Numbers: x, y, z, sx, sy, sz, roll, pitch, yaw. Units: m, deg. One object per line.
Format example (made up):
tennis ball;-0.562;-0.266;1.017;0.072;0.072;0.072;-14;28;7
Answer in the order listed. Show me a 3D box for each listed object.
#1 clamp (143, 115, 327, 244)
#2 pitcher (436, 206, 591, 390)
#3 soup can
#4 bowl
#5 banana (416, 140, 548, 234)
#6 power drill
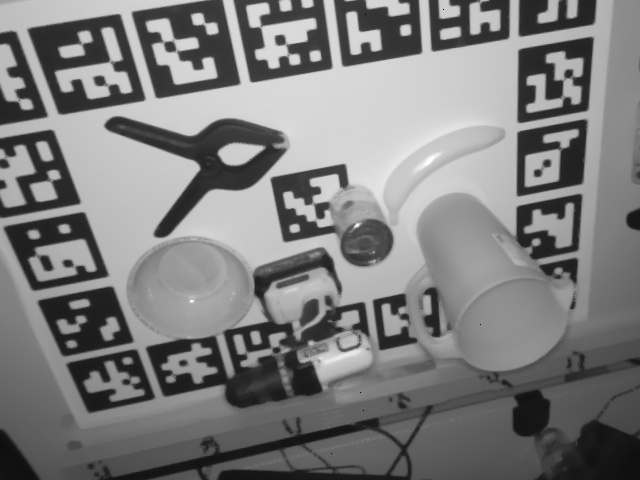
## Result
clamp;-0.092;-0.088;0.842;0.203;0.037;0.164;-12;115;-4
pitcher;0.226;0.065;0.868;0.188;0.243;0.133;-31;121;8
soup can;0.091;-0.002;0.891;0.068;0.102;0.067;-6;127;-7
bowl;-0.131;0.060;0.909;0.162;0.055;0.160;-4;117;-8
banana;0.202;-0.082;0.907;0.196;0.039;0.074;-32;126;9
power drill;-0.006;0.131;0.872;0.185;0.187;0.057;-14;119;-1
